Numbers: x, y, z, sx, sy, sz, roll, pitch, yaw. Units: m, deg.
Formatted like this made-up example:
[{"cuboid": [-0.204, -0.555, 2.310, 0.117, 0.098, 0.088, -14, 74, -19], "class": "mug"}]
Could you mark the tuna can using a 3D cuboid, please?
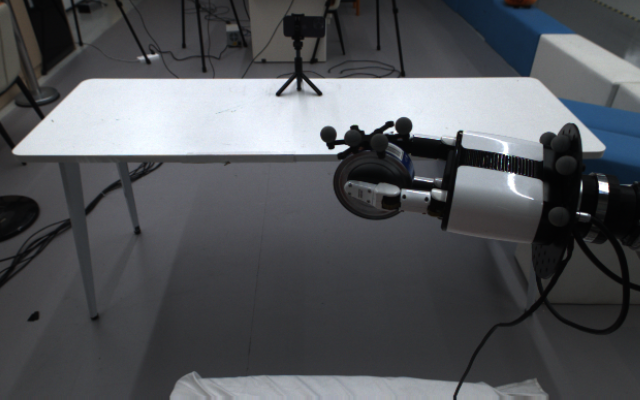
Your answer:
[{"cuboid": [0.062, -0.023, 0.530, 0.085, 0.085, 0.034, 10, 33, 11], "class": "tuna can"}]
